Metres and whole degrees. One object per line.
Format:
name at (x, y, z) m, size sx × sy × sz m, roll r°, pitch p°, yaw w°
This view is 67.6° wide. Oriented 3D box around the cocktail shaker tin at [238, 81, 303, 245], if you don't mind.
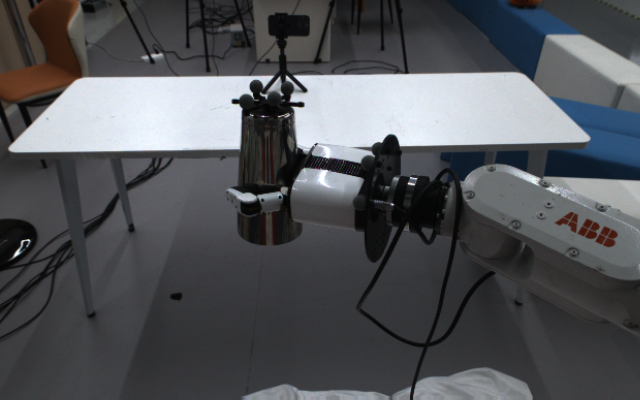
cocktail shaker tin at (-0.065, -0.037, 0.637) m, size 0.093 × 0.170 × 0.093 m, roll 2°, pitch 28°, yaw -1°
